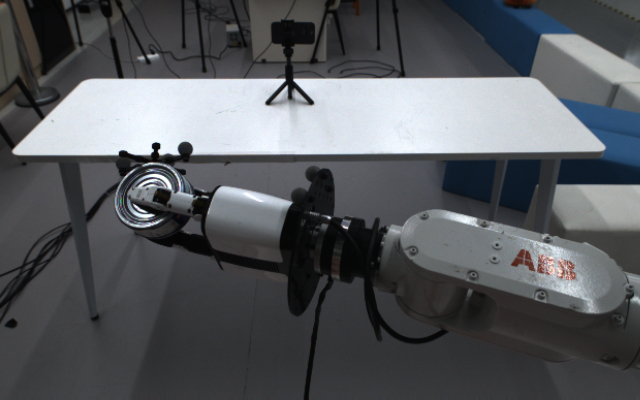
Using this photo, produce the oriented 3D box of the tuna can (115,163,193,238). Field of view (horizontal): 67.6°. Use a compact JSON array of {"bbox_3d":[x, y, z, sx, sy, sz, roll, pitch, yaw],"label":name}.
[{"bbox_3d":[-0.187,0.006,0.557,0.085,0.034,0.085,-3,69,9],"label":"tuna can"}]
